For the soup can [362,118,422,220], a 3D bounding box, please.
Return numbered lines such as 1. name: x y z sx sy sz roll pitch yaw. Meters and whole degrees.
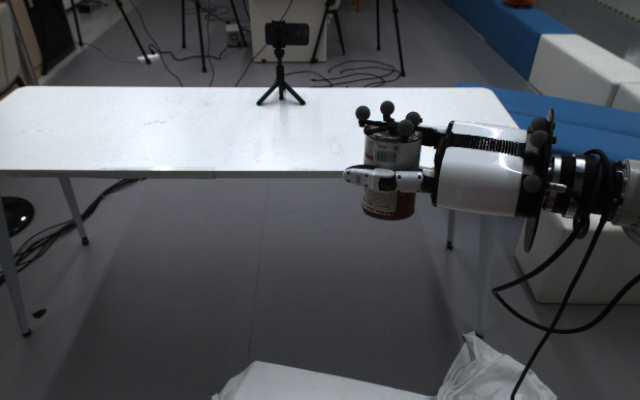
1. soup can: 0.087 -0.036 0.586 0.067 0.101 0.067 1 25 0
